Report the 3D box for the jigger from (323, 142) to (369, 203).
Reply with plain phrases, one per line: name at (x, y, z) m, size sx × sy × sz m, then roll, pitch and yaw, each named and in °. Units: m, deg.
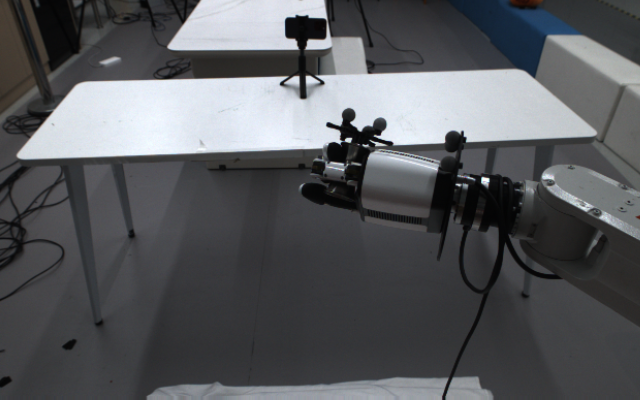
jigger at (0.036, -0.036, 0.616) m, size 0.043 × 0.071 × 0.043 m, roll 18°, pitch -6°, yaw 2°
